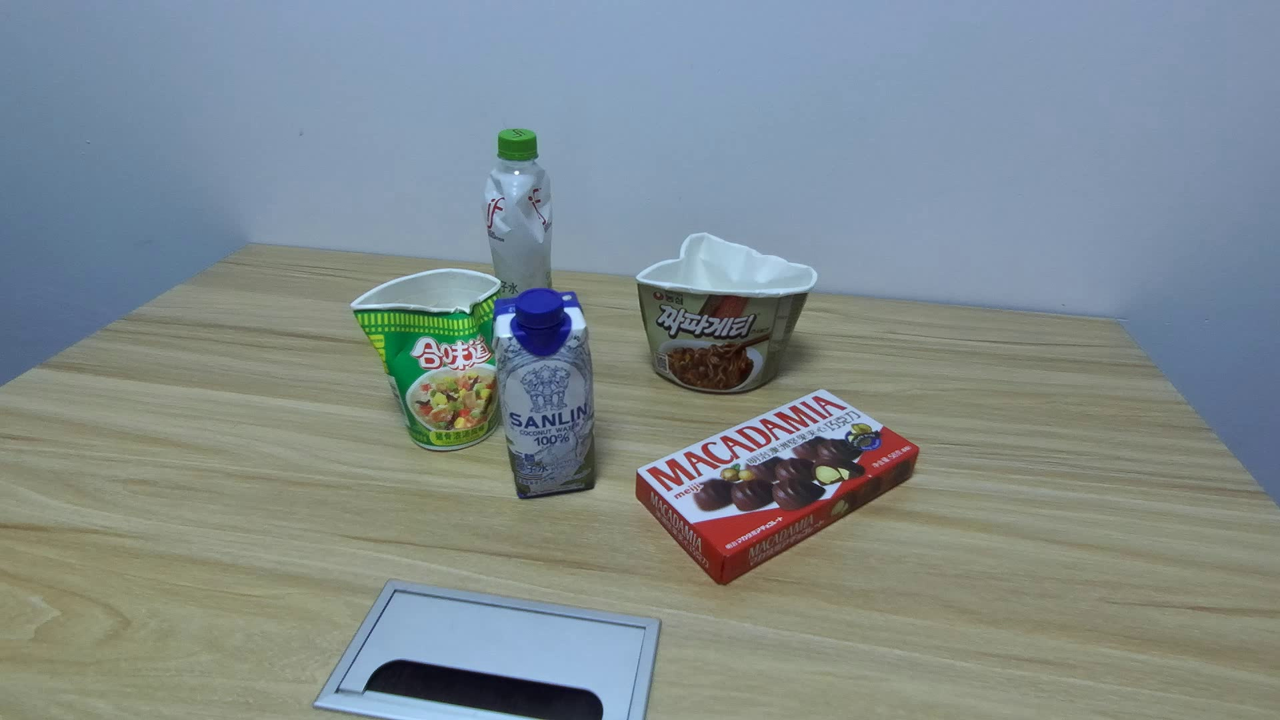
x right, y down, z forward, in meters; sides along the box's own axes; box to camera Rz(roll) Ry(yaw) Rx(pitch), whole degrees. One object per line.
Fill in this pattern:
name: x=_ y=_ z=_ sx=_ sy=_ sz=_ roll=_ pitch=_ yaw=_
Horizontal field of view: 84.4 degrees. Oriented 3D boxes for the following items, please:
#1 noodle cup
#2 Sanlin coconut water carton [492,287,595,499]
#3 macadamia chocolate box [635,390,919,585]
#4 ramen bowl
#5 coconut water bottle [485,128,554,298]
noodle cup: x=-0.142 y=0.001 z=0.520 sx=0.082 sy=0.122 sz=0.075 roll=1 pitch=23 yaw=19
Sanlin coconut water carton: x=-0.061 y=0.018 z=0.461 sx=0.061 sy=0.144 sz=0.060 roll=-7 pitch=31 yaw=-10
macadamia chocolate box: x=0.095 y=0.077 z=0.482 sx=0.178 sy=0.027 sz=0.095 roll=-19 pitch=36 yaw=-29
ramen bowl: x=0.076 y=-0.038 z=0.597 sx=0.133 sy=0.097 sz=0.114 roll=14 pitch=34 yaw=21
coconut water bottle: x=-0.101 y=-0.097 z=0.604 sx=0.067 sy=0.187 sz=0.067 roll=2 pitch=25 yaw=-1
